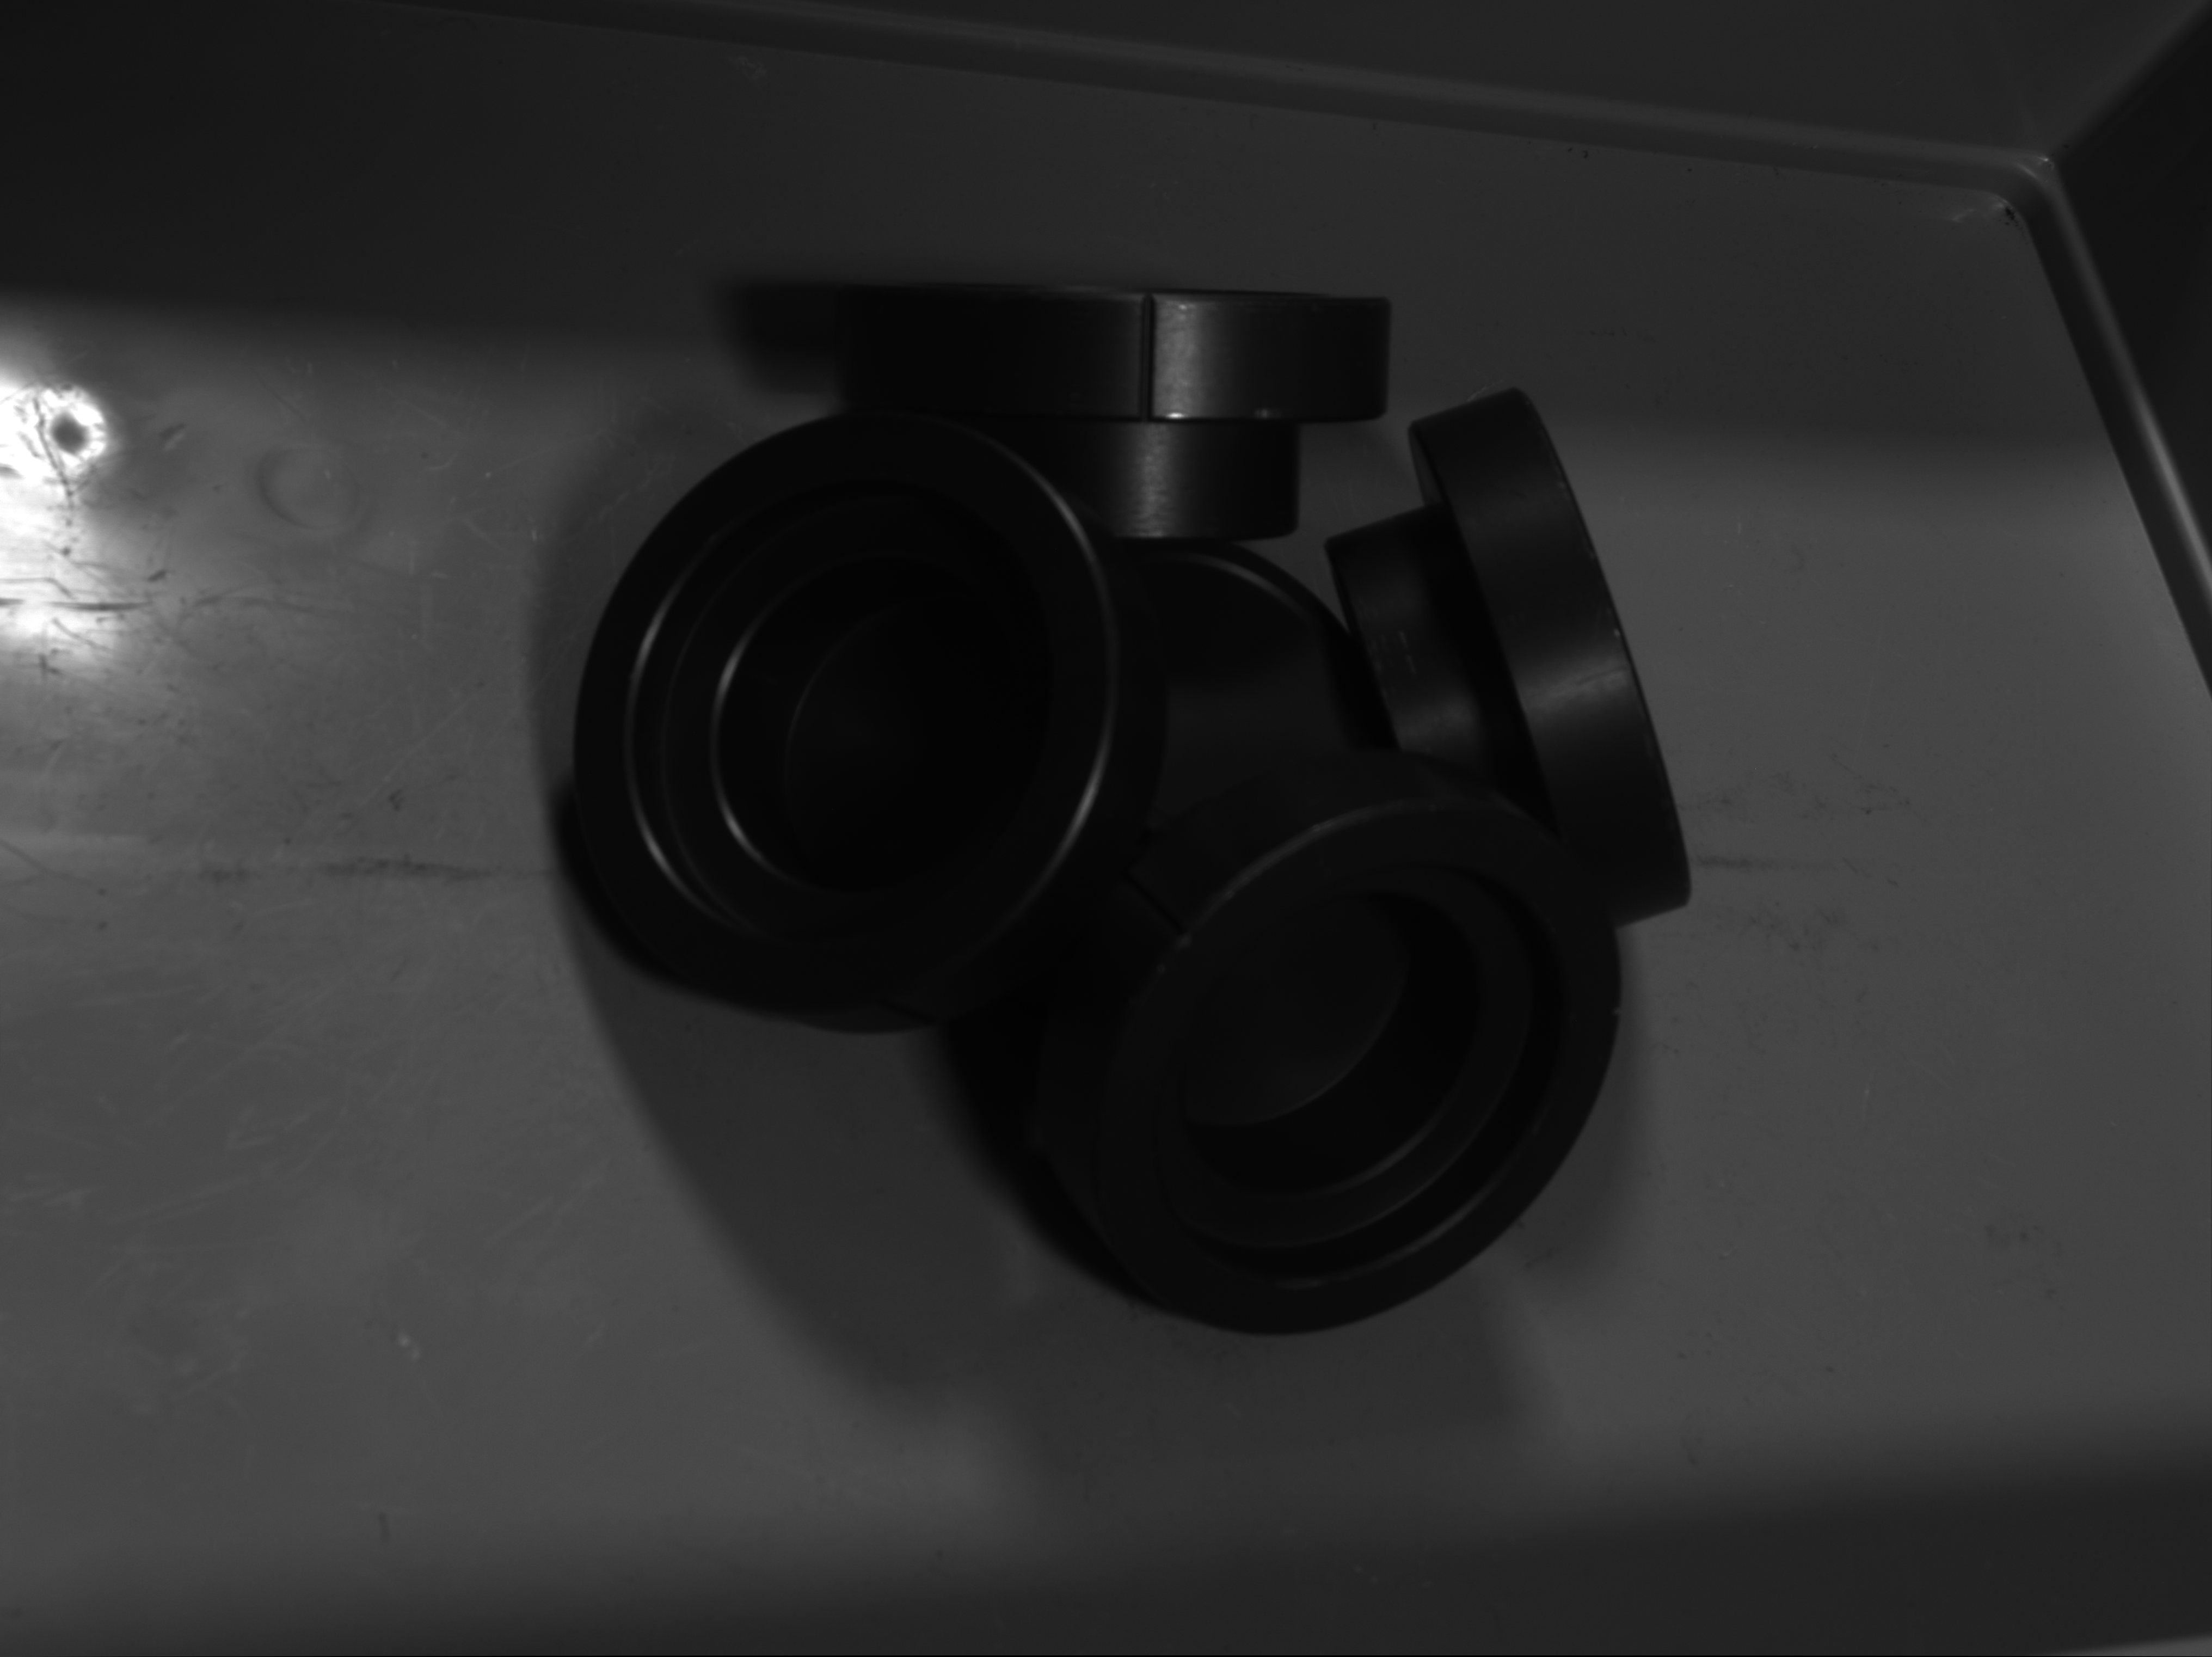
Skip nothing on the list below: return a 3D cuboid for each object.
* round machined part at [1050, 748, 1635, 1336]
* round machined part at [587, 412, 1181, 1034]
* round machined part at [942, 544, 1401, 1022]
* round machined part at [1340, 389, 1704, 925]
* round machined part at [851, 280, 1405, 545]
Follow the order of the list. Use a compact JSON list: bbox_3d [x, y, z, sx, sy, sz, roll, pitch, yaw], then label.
[{"bbox_3d":[0.035,0.031,0.603,0.098,0.098,0.042,-1,26,-29],"label":"round machined part"},{"bbox_3d":[-0.032,-0.015,0.595,0.042,0.098,0.098,26,40,-62],"label":"round machined part"},{"bbox_3d":[0.013,-0.013,0.641,0.098,0.042,0.098,14,56,-21],"label":"round machined part"},{"bbox_3d":[0.072,-0.026,0.659,0.042,0.098,0.098,-18,67,3],"label":"round machined part"},{"bbox_3d":[0.003,-0.075,0.651,0.098,0.098,0.042,-4,101,-30],"label":"round machined part"}]
